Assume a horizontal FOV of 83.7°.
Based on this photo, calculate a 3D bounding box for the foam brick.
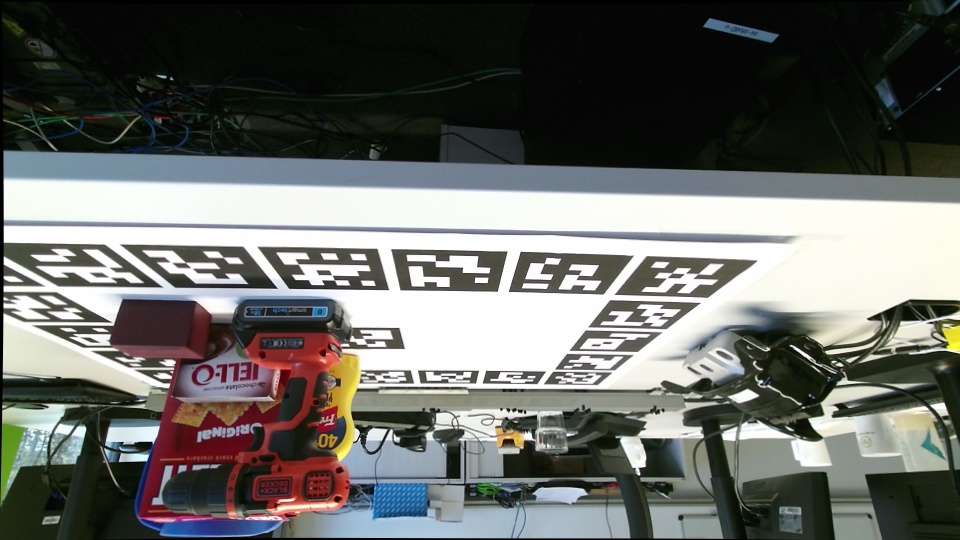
[{"bbox_3d":[-0.350,0.063,0.587,0.078,0.051,0.053,2,151,-6],"label":"foam brick"}]

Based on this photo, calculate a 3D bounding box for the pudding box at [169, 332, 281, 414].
[{"bbox_3d":[-0.296,0.122,0.634,0.114,0.089,0.039,-1,155,-6],"label":"pudding box"}]

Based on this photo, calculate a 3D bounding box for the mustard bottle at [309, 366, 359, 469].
[{"bbox_3d":[-0.226,0.233,0.752,0.096,0.190,0.058,7,151,-16],"label":"mustard bottle"}]

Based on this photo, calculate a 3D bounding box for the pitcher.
[{"bbox_3d":[-0.359,0.242,0.738,0.189,0.241,0.133,2,153,-10],"label":"pitcher"}]

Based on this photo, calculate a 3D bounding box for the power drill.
[{"bbox_3d":[-0.228,0.156,0.552,0.185,0.186,0.057,1,156,-2],"label":"power drill"}]

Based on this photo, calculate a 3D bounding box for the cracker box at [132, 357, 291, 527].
[{"bbox_3d":[-0.305,0.192,0.652,0.165,0.212,0.072,-2,155,-3],"label":"cracker box"}]
